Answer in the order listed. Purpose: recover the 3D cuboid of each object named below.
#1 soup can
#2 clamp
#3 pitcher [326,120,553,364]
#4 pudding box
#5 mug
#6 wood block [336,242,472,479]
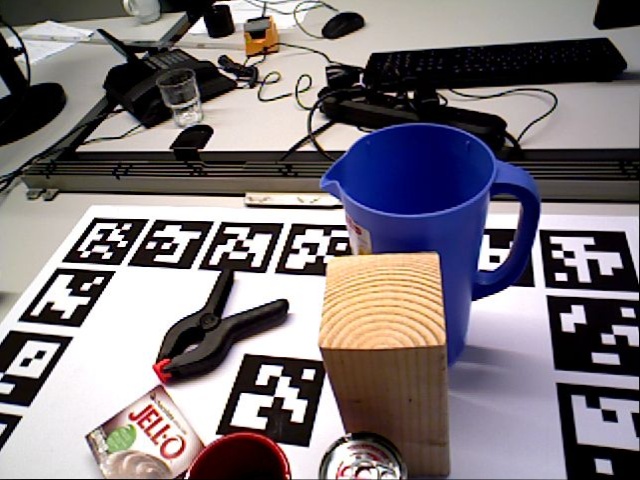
[{"bbox_3d":[0.042,0.208,0.431,0.068,0.104,0.067,-7,45,6],"label":"soup can"},{"bbox_3d":[-0.121,0.105,0.644,0.122,0.037,0.162,30,58,28],"label":"clamp"},{"bbox_3d":[0.114,0.015,0.517,0.190,0.247,0.130,-1,41,16],"label":"pitcher"},{"bbox_3d":[-0.174,0.210,0.538,0.088,0.039,0.114,-38,47,-21],"label":"pudding box"},{"bbox_3d":[-0.050,0.227,0.450,0.091,0.083,0.117,-35,45,-26],"label":"mug"},{"bbox_3d":[0.069,0.109,0.452,0.090,0.210,0.089,2,44,10],"label":"wood block"}]
